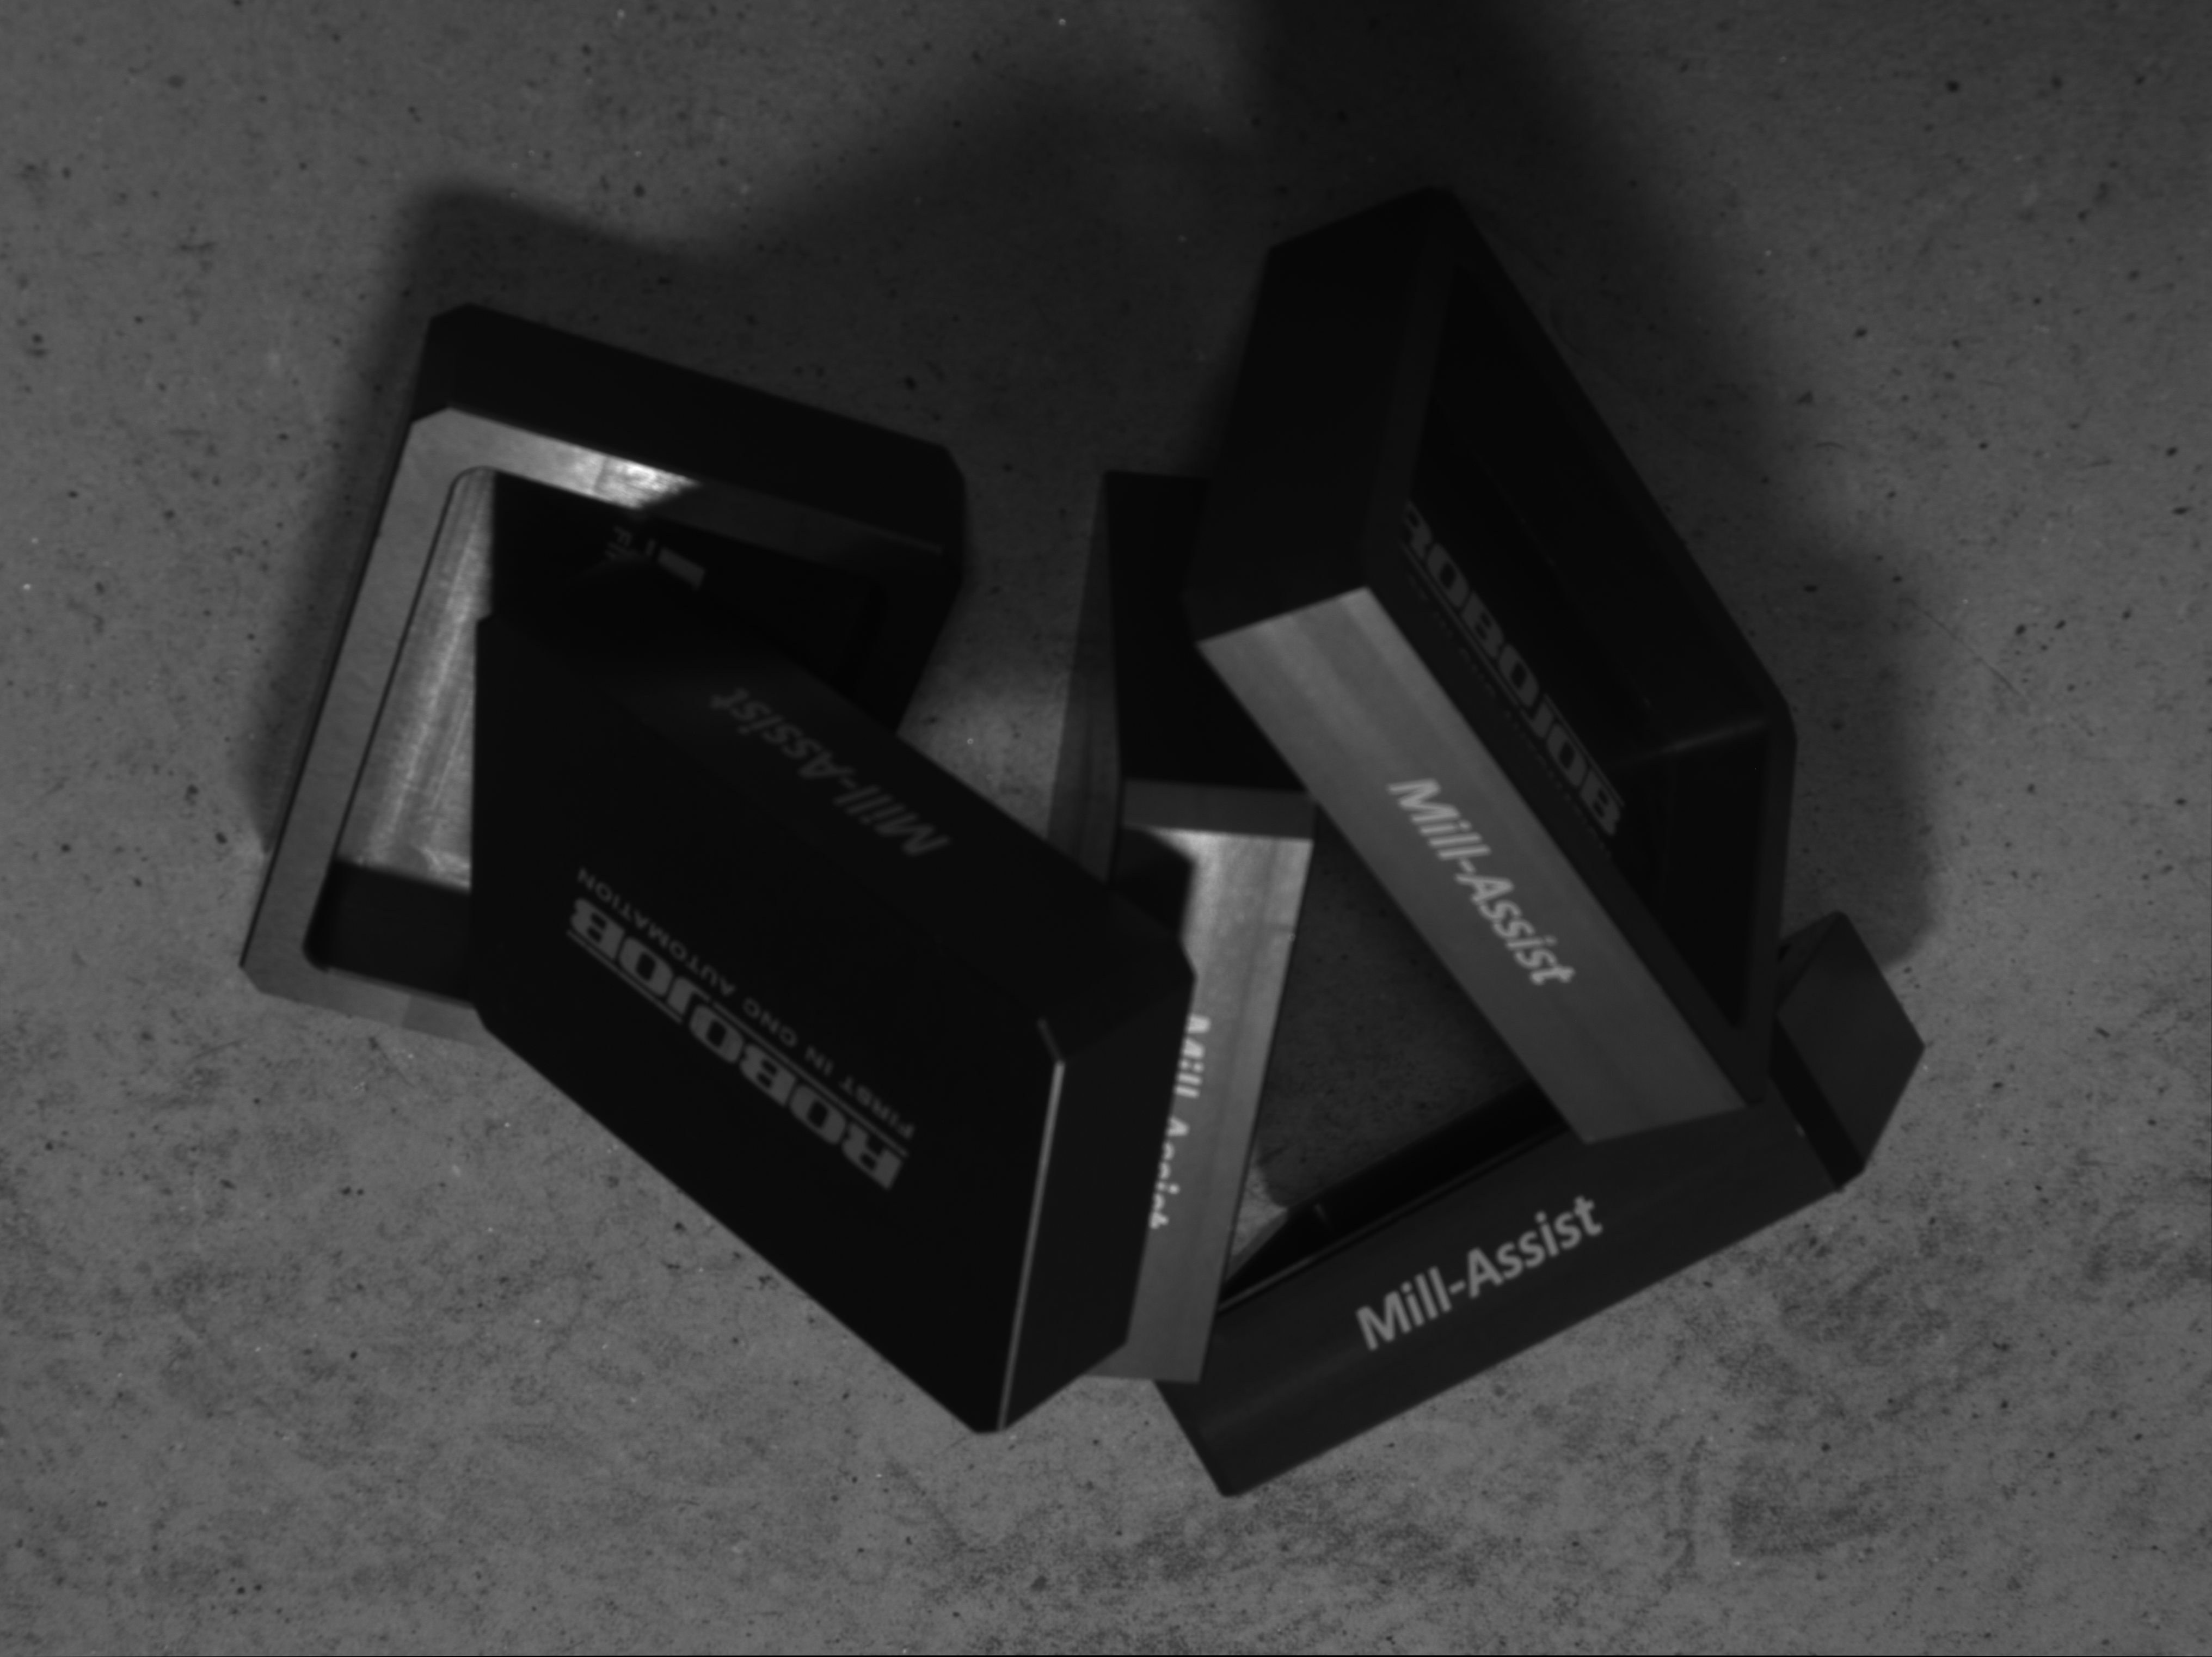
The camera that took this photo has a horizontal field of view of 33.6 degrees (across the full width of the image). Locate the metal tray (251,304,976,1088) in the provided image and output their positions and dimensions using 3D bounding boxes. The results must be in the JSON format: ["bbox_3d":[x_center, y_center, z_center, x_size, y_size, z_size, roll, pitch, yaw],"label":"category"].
[{"bbox_3d":[-0.084,-0.017,0.618,0.090,0.030,0.130,16,128,-14],"label":"metal tray"}]

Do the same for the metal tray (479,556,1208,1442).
[{"bbox_3d":[-0.047,0.026,0.585,0.130,0.030,0.090,35,136,28],"label":"metal tray"}]

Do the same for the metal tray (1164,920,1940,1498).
[{"bbox_3d":[0.080,0.067,0.655,0.130,0.090,0.030,-31,89,22],"label":"metal tray"}]

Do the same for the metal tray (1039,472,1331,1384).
[{"bbox_3d":[0.010,0.018,0.612,0.030,0.090,0.130,5,130,-6],"label":"metal tray"}]

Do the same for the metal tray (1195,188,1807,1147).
[{"bbox_3d":[0.067,-0.024,0.576,0.030,0.090,0.130,-17,130,30],"label":"metal tray"}]
